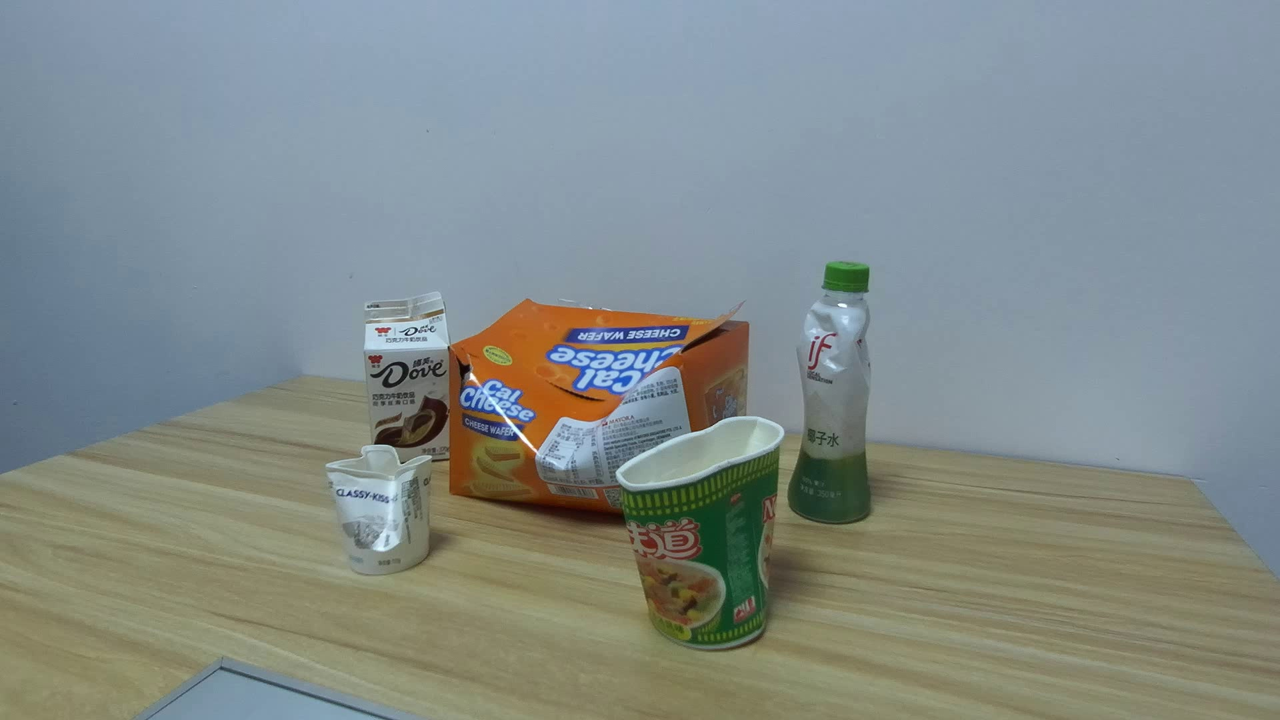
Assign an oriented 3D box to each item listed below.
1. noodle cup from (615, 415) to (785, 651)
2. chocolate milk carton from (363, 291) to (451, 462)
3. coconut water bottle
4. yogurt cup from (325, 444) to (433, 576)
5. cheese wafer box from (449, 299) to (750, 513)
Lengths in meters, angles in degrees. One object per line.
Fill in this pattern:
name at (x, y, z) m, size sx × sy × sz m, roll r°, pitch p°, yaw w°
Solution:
noodle cup at (0.037, 0.096, 0.397) m, size 0.115 × 0.111 × 0.070 m, roll -8°, pitch 18°, yaw -24°
chocolate milk carton at (-0.211, 0.014, 0.652) m, size 0.075 × 0.148 × 0.074 m, roll -4°, pitch 13°, yaw -16°
coconut water bottle at (0.146, 0.023, 0.520) m, size 0.067 × 0.187 × 0.067 m, roll 1°, pitch 13°, yaw 0°
yogurt cup at (-0.170, 0.099, 0.475) m, size 0.054 × 0.072 × 0.055 m, roll 6°, pitch 14°, yaw 28°
cheese wafer box at (-0.033, 0.033, 0.580) m, size 0.218 × 0.145 × 0.191 m, roll 4°, pitch 15°, yaw 17°
